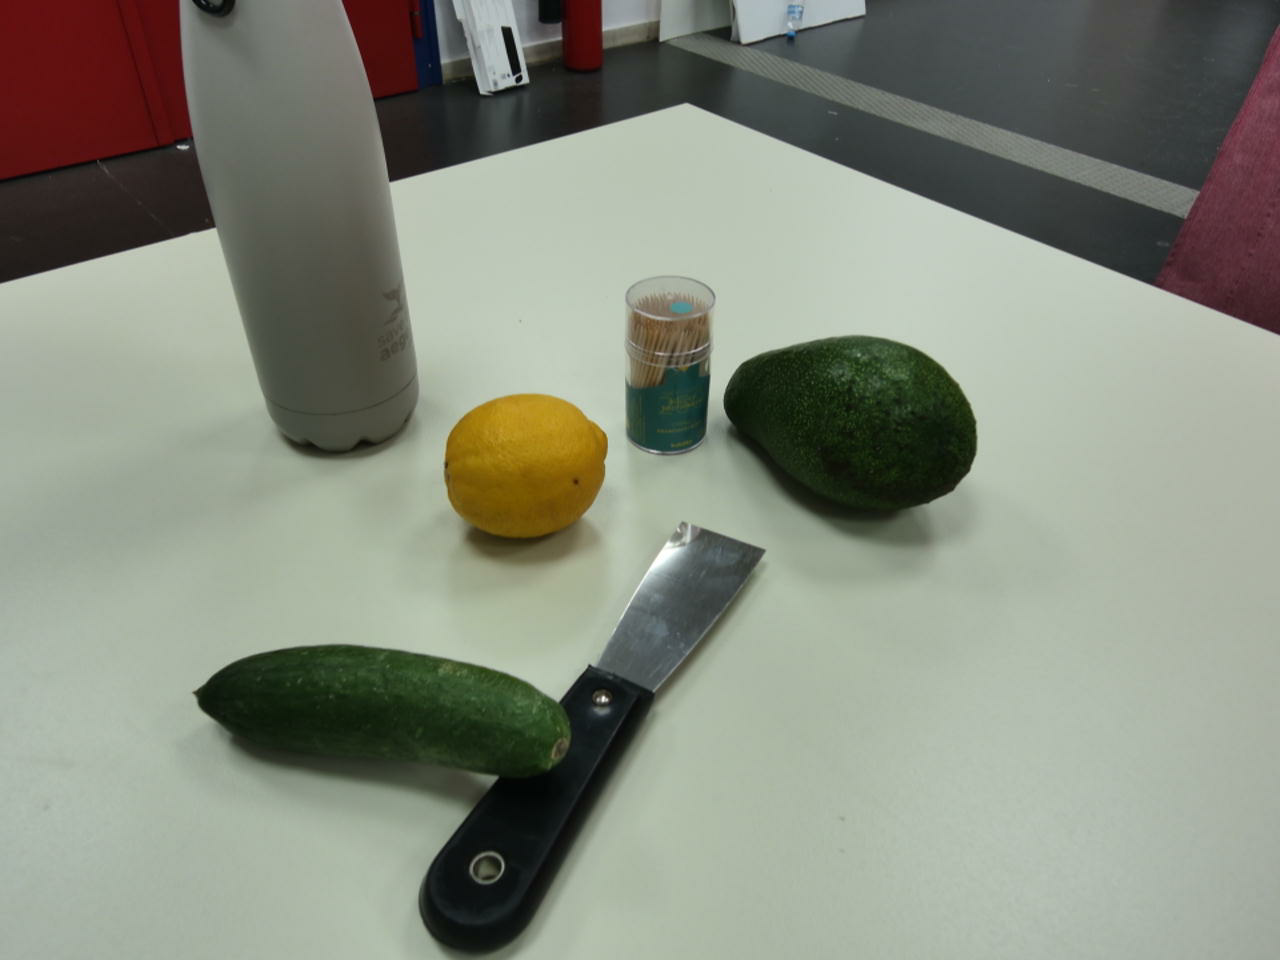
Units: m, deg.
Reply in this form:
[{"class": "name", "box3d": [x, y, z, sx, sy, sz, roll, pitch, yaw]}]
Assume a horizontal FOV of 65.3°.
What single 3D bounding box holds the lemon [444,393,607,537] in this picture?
[{"class": "lemon", "box3d": [-0.048, -0.005, 0.415, 0.067, 0.059, 0.060, 2, 37, 2]}]
